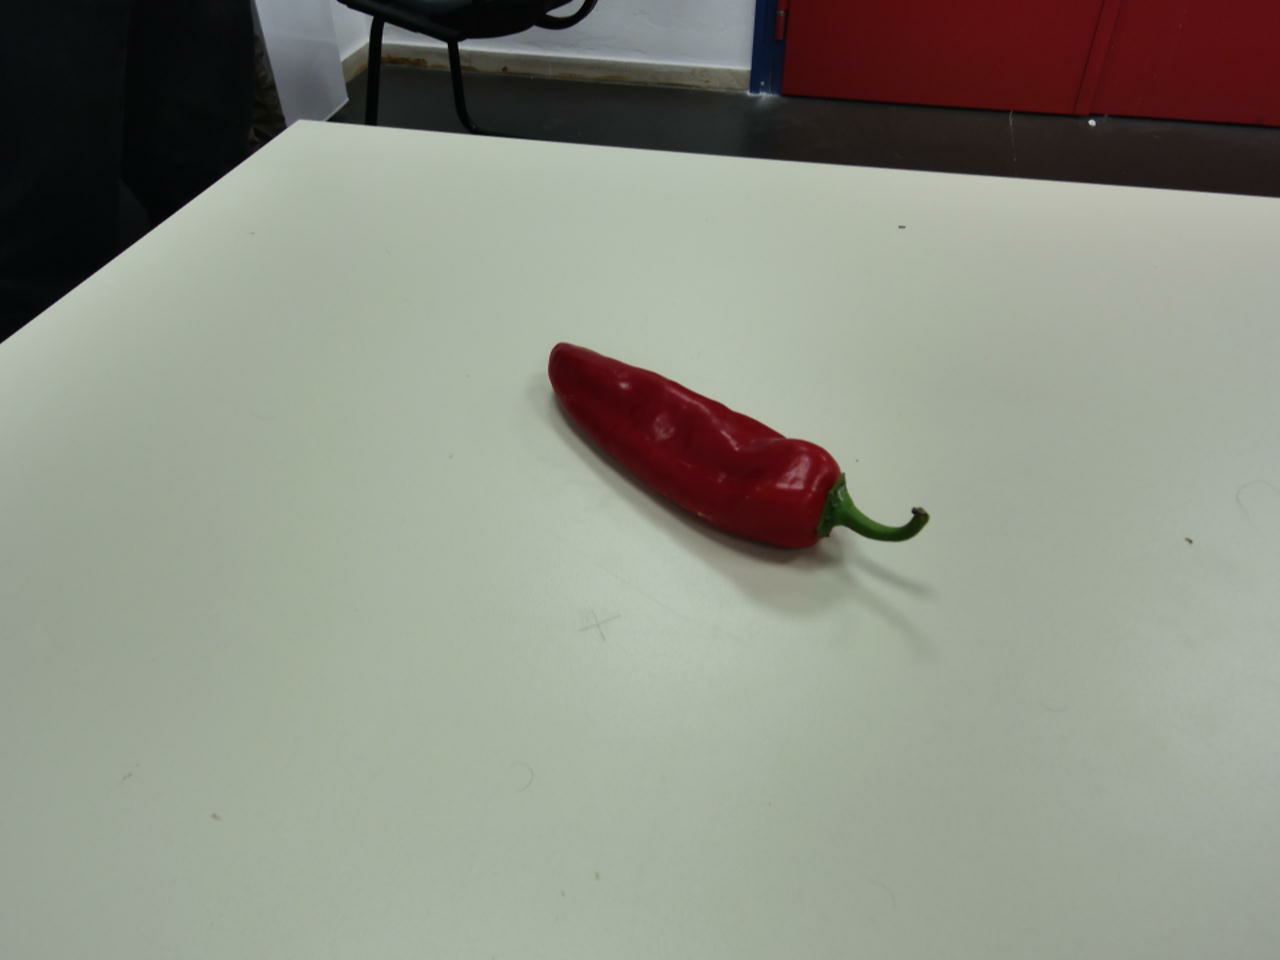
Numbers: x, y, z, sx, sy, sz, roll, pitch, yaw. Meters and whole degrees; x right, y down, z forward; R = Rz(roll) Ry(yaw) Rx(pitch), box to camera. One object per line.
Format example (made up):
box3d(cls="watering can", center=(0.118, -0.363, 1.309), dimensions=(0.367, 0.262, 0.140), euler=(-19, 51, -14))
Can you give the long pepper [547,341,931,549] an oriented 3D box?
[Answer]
box3d(cls="long pepper", center=(0.025, -0.016, 0.434), dimensions=(0.050, 0.043, 0.211), euler=(-31, 47, -33))
